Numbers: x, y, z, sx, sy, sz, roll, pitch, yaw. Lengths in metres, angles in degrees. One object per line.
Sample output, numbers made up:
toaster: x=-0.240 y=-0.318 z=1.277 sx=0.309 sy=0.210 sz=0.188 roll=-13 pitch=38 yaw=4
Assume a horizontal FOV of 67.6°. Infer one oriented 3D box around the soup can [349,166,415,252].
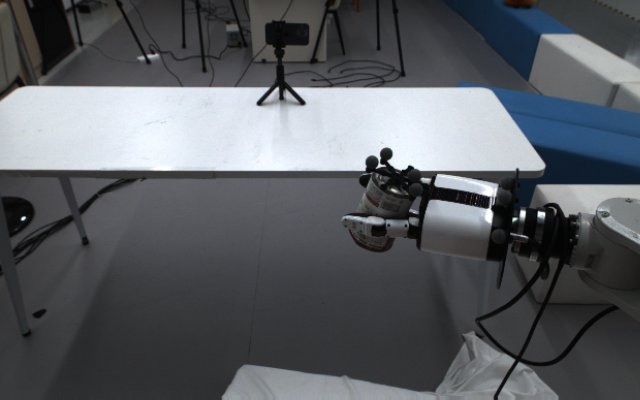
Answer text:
soup can: x=0.089 y=0.013 z=0.675 sx=0.067 sy=0.101 sz=0.067 roll=13 pitch=35 yaw=-9
